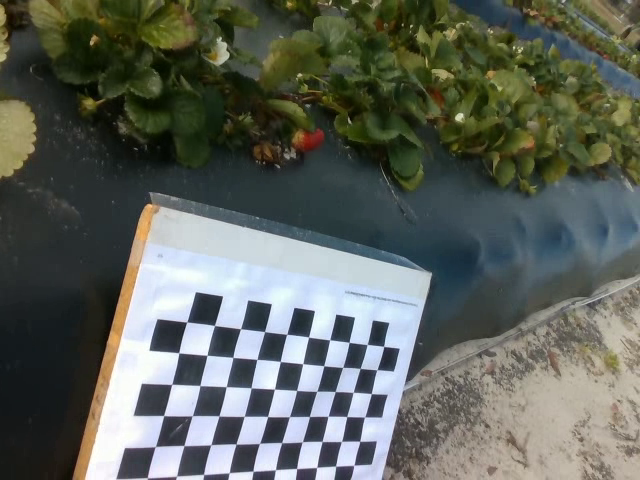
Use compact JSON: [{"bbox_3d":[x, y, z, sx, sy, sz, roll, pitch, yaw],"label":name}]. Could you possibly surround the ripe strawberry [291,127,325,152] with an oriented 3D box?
[{"bbox_3d":[-0.010,-0.073,0.414,0.027,0.022,0.021,-14,26,-25],"label":"ripe strawberry"}]
